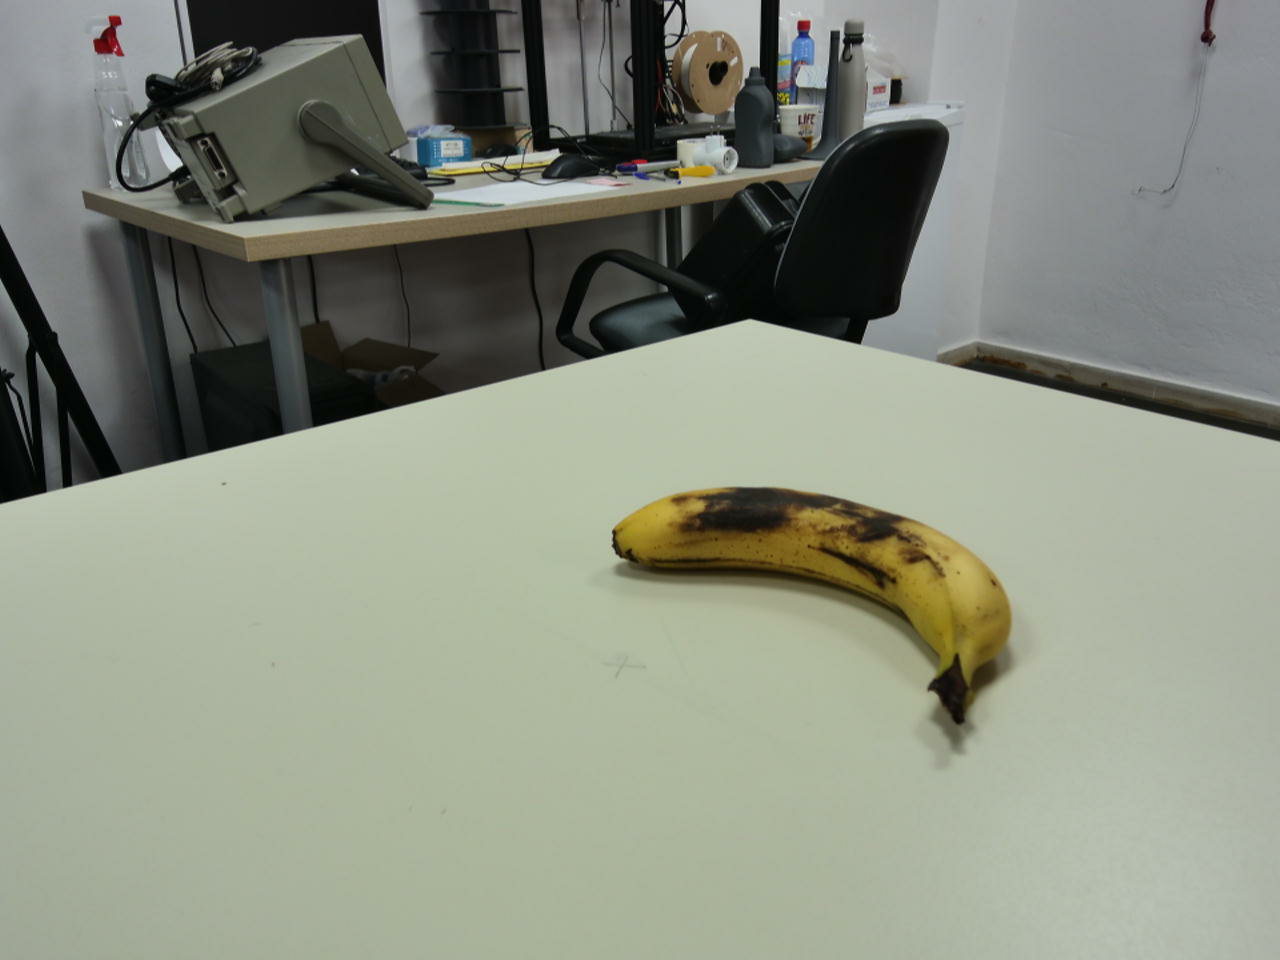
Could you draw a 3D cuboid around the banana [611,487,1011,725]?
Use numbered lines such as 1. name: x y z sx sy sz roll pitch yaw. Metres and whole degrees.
1. banana: 0.080 0.038 0.433 0.094 0.039 0.187 -18 27 -37
